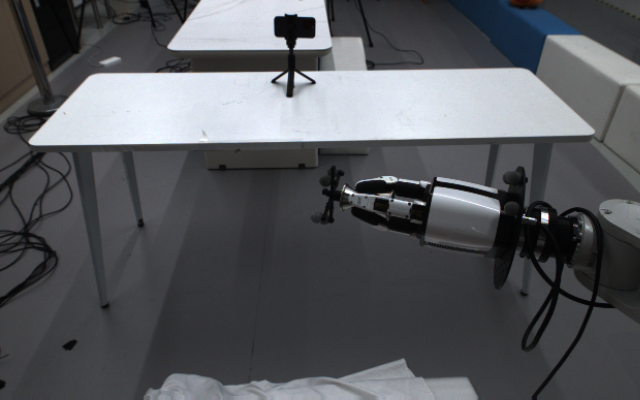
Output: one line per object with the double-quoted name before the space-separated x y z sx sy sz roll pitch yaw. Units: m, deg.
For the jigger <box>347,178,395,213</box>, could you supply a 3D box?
"jigger" 0.071 -0.002 0.665 0.071 0.043 0.043 10 35 16
